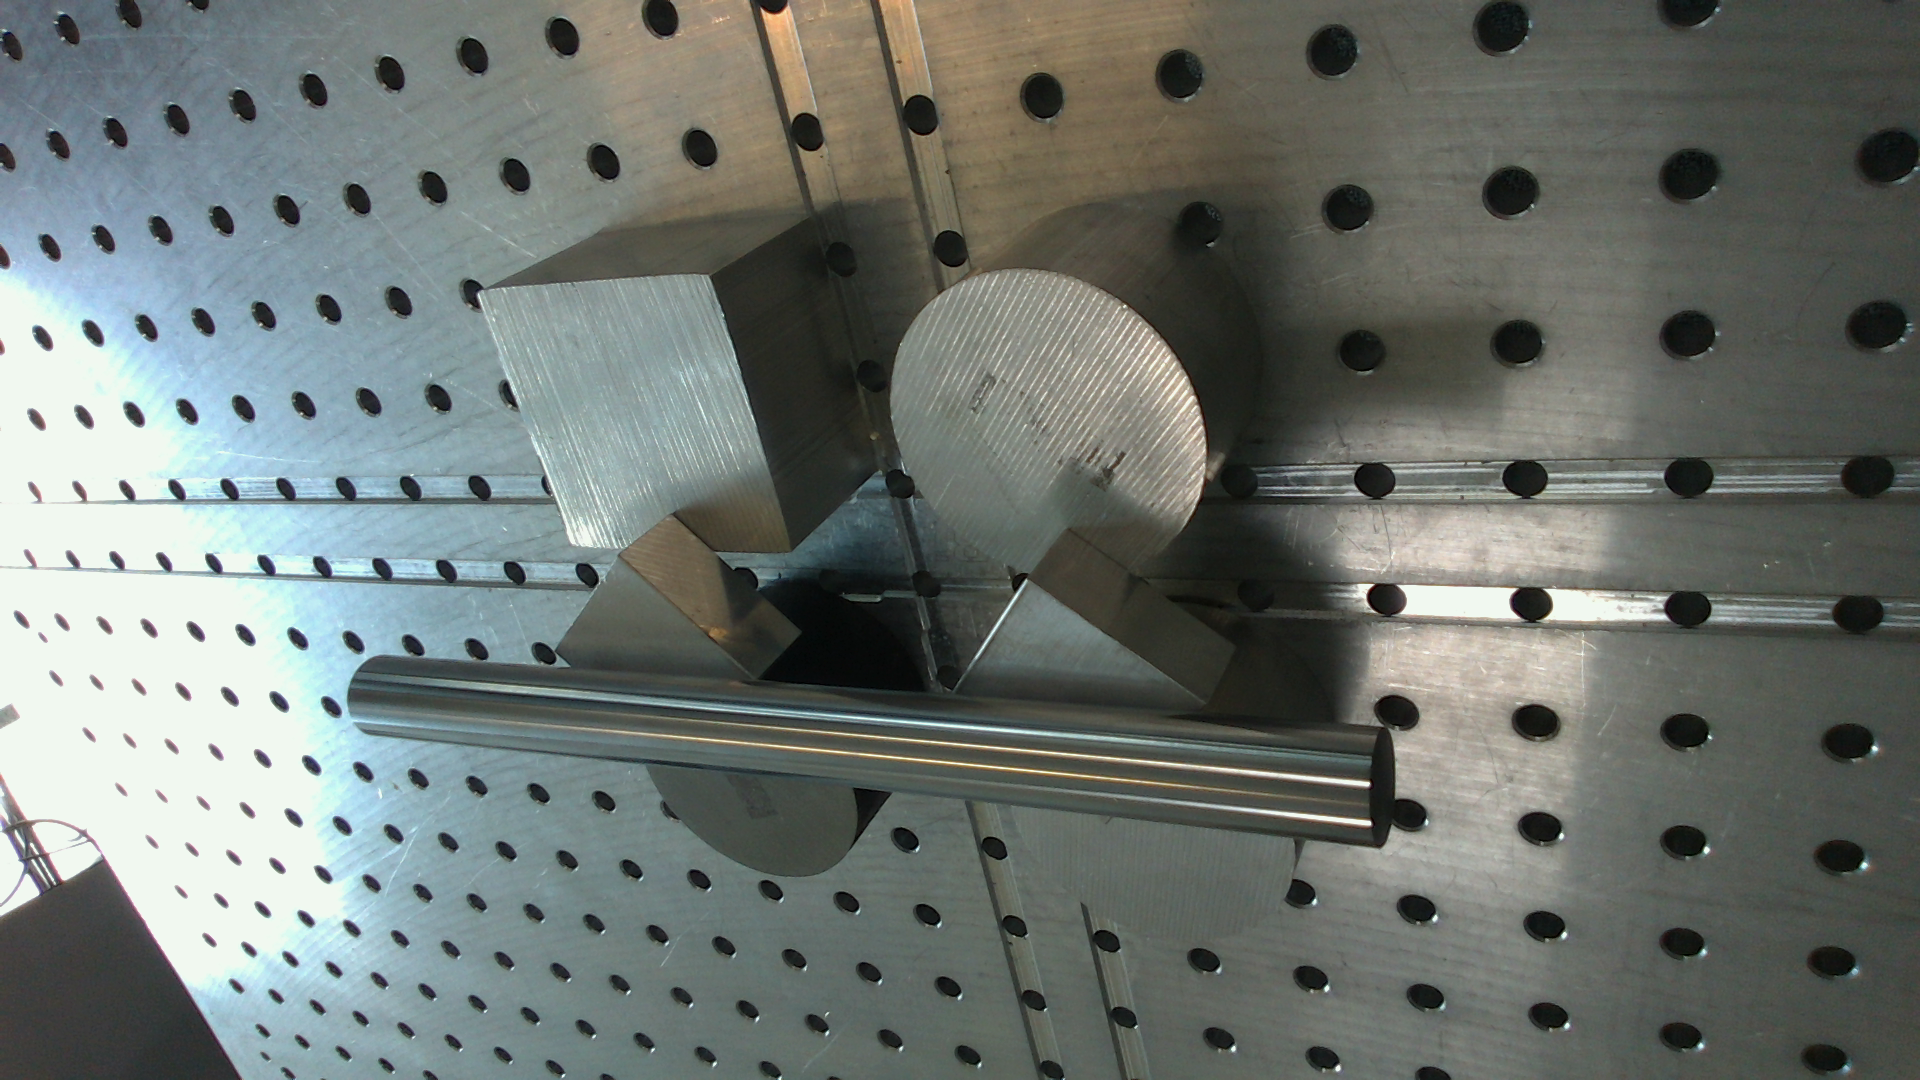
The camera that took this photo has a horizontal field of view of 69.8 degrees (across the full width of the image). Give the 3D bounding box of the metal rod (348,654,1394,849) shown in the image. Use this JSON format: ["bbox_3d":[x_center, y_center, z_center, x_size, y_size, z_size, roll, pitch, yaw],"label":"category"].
[{"bbox_3d":[-0.045,0.049,0.353,0.299,0.025,0.025,1,119,28],"label":"metal rod"}]

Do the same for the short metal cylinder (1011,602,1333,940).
[{"bbox_3d":[0.060,0.065,0.388,0.080,0.050,0.080,13,124,21],"label":"short metal cylinder"}]

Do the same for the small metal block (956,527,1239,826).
[{"bbox_3d":[0.031,0.034,0.336,0.050,0.025,0.050,35,129,5],"label":"small metal block"}]

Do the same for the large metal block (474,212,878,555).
[{"bbox_3d":[-0.079,-0.044,0.394,0.080,0.050,0.080,1,119,28],"label":"large metal block"}]

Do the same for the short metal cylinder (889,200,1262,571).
[{"bbox_3d":[0.029,-0.038,0.341,0.080,0.050,0.080,13,124,21],"label":"short metal cylinder"}]

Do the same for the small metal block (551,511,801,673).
[{"bbox_3d":[-0.082,0.029,0.393,0.050,0.025,0.050,42,129,-1],"label":"small metal block"}]

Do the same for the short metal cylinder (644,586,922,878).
[{"bbox_3d":[-0.057,0.062,0.448,0.080,0.050,0.080,13,124,21],"label":"short metal cylinder"}]
